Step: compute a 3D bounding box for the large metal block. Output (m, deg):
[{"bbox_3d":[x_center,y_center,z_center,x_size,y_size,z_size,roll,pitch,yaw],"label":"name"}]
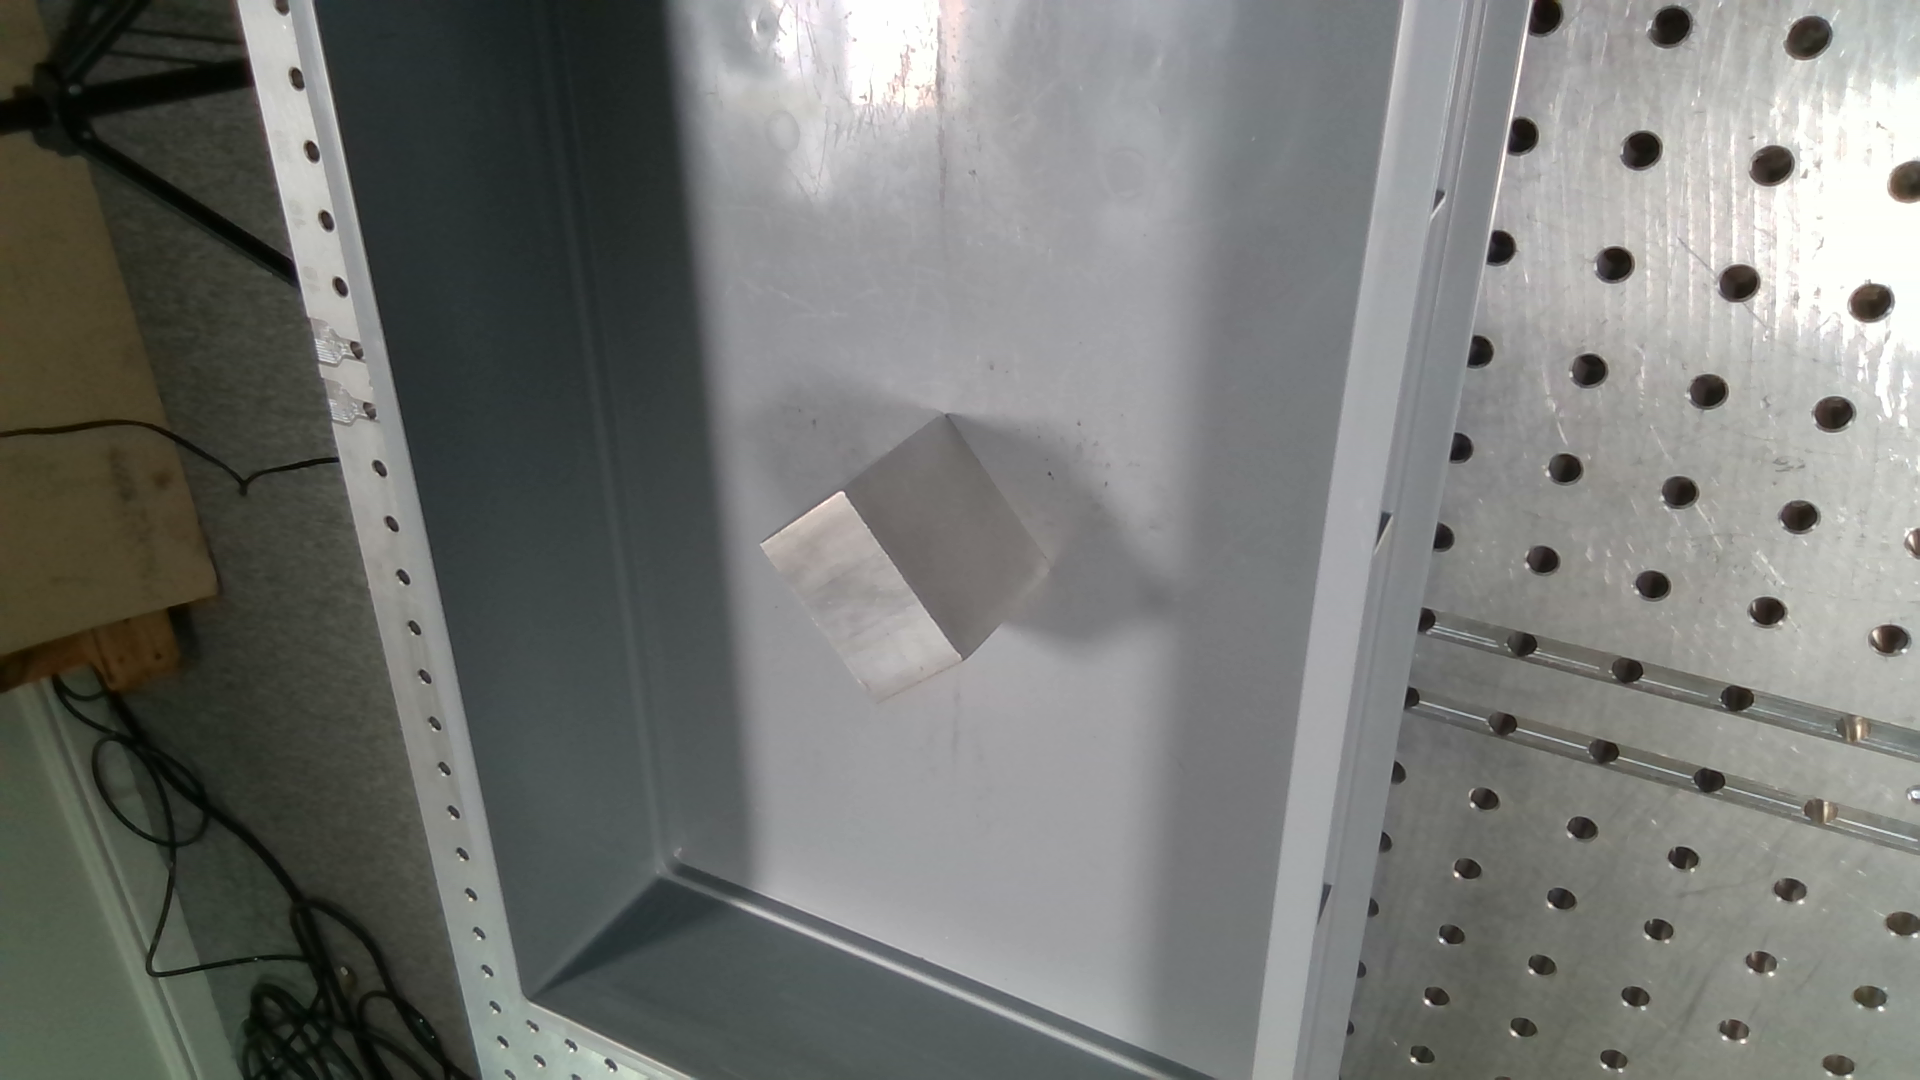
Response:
[{"bbox_3d":[-0.020,0.007,0.557,0.050,0.080,0.080,-30,97,39],"label":"large metal block"}]
